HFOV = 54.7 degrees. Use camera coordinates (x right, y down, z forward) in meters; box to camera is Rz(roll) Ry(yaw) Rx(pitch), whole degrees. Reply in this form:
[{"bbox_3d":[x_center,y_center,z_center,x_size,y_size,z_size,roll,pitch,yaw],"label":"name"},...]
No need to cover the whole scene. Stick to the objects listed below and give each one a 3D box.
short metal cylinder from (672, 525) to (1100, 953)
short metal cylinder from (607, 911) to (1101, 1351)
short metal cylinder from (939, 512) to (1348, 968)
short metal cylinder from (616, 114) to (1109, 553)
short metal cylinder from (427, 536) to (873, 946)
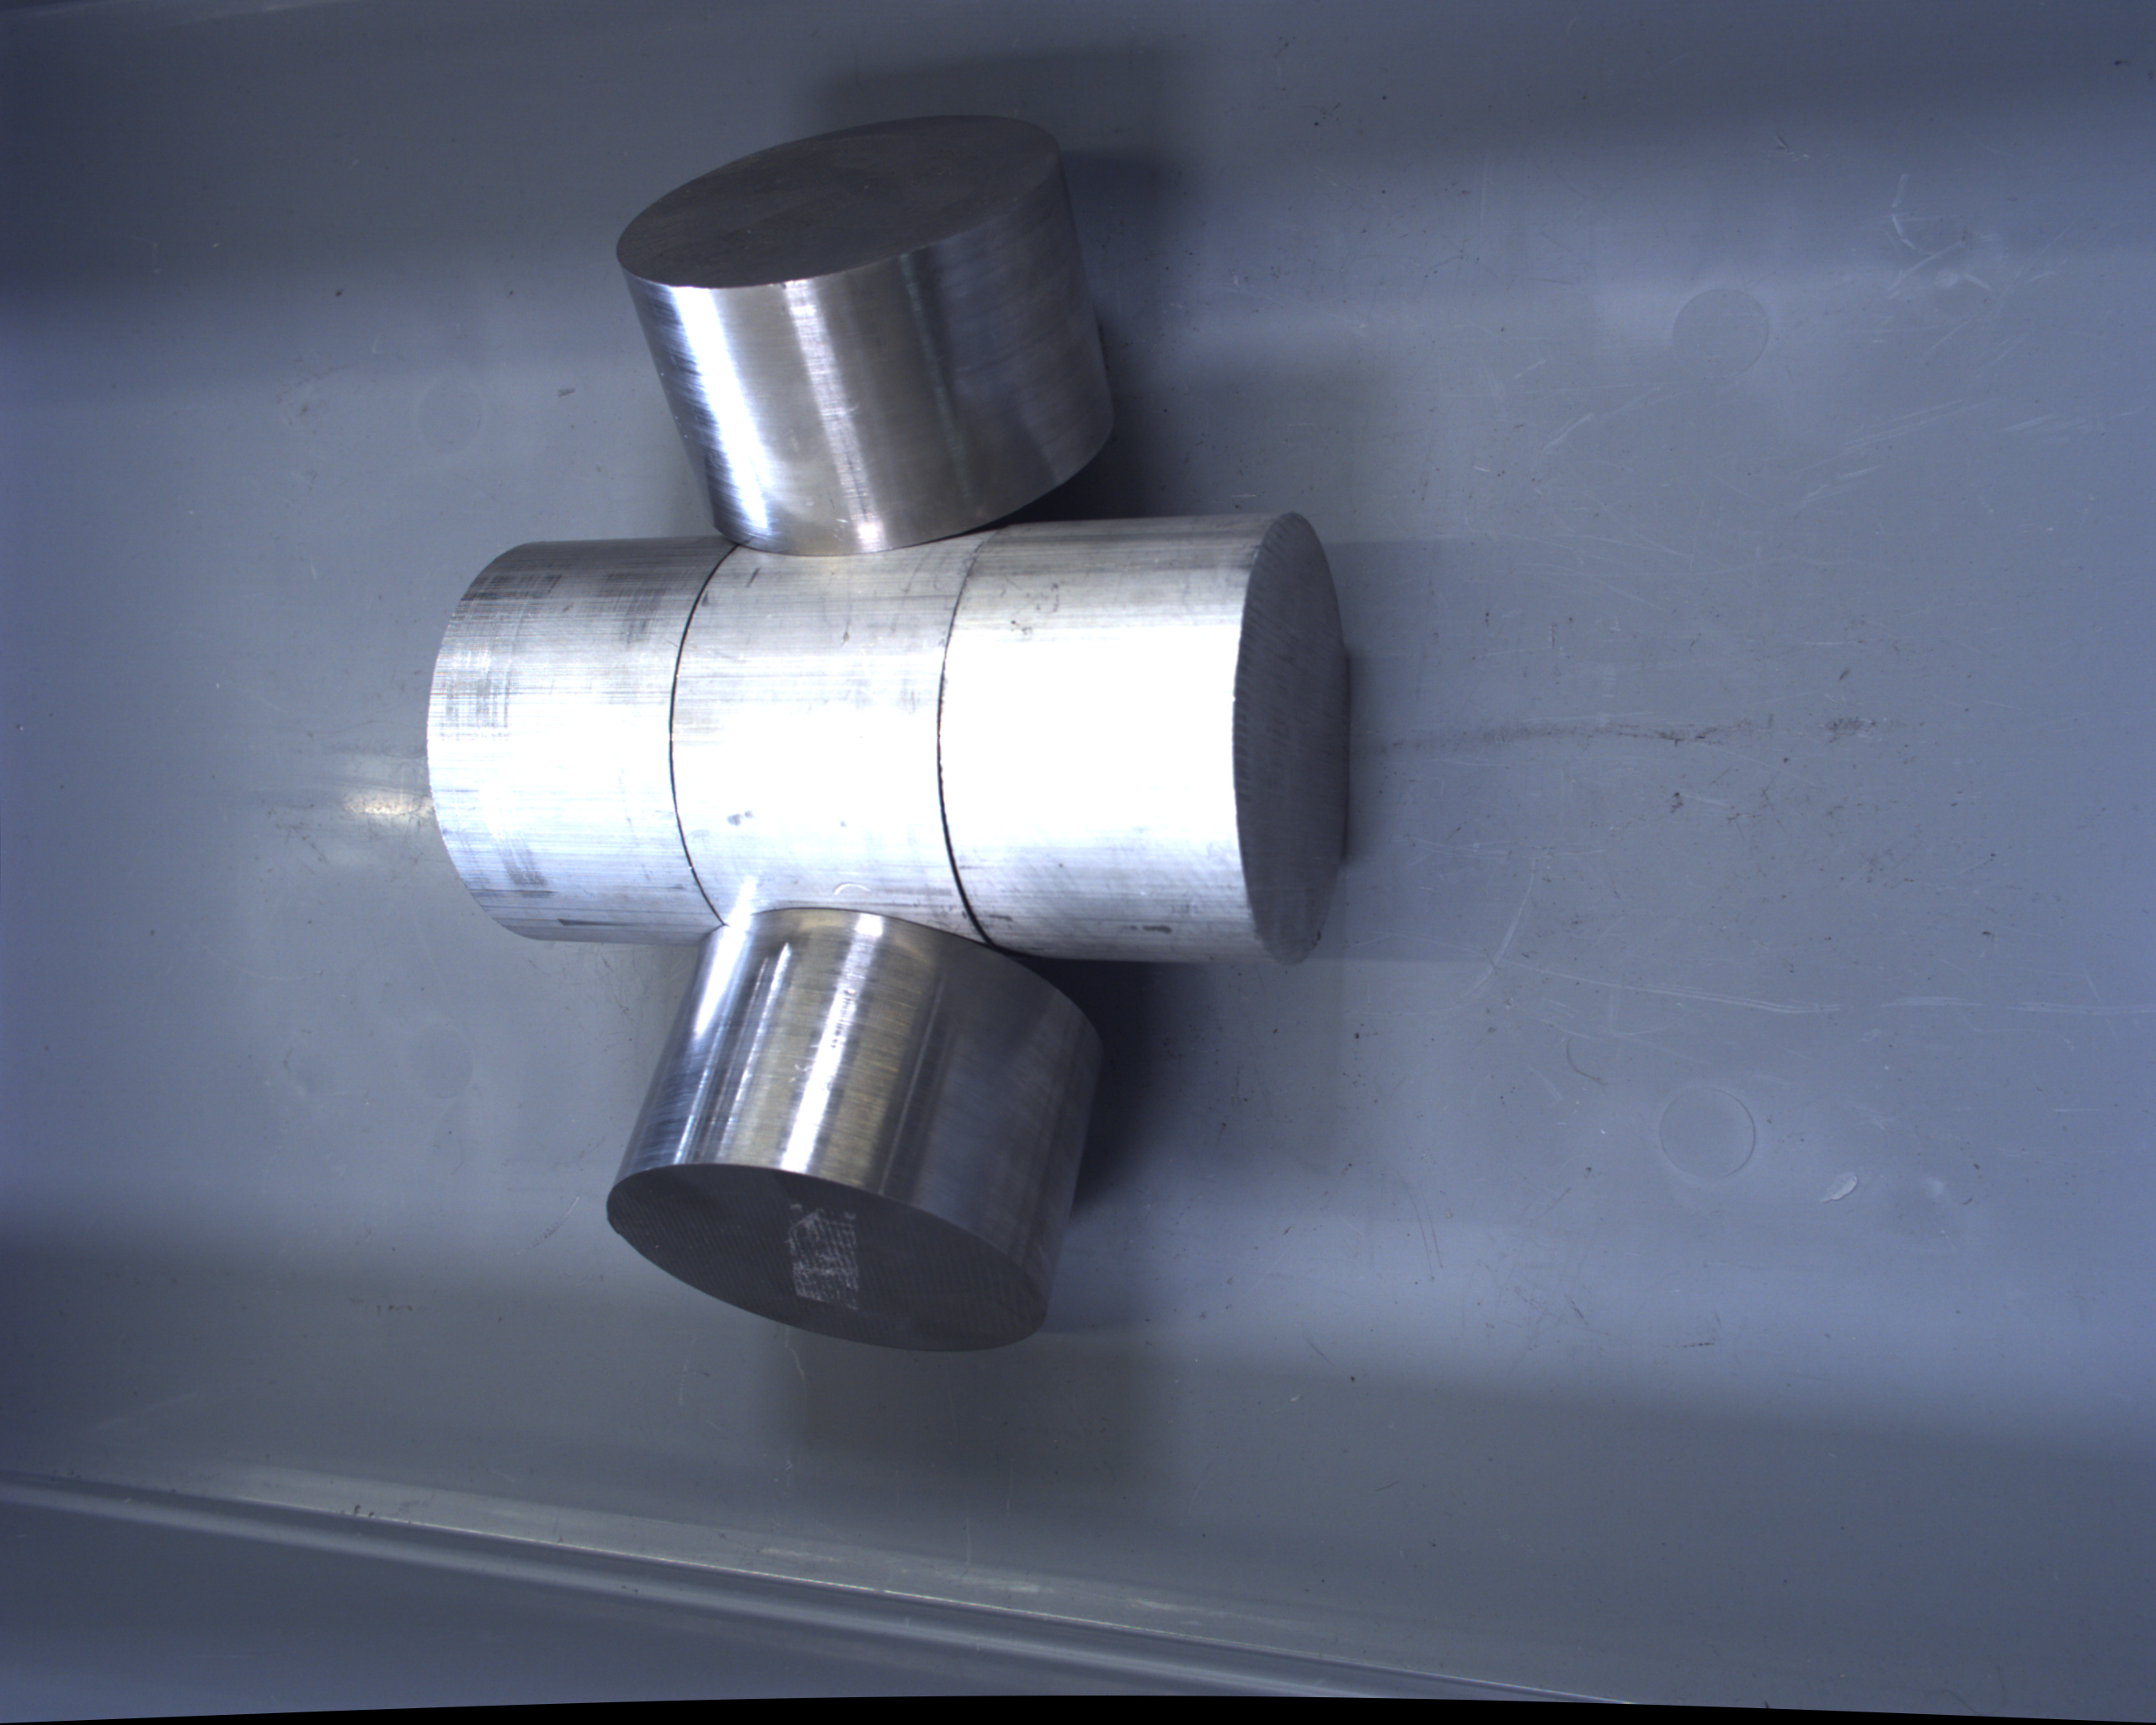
[{"bbox_3d":[-0.033,-0.023,0.391,0.050,0.080,0.080,1,91,20],"label":"short metal cylinder"},{"bbox_3d":[-0.040,0.051,0.386,0.080,0.080,0.050,0,56,20],"label":"short metal cylinder"},{"bbox_3d":[0.015,-0.022,0.374,0.050,0.080,0.080,1,91,20],"label":"short metal cylinder"},{"bbox_3d":[-0.038,-0.099,0.385,0.080,0.080,0.050,2,129,20],"label":"short metal cylinder"},{"bbox_3d":[-0.081,-0.023,0.408,0.050,0.080,0.080,1,91,20],"label":"short metal cylinder"}]
